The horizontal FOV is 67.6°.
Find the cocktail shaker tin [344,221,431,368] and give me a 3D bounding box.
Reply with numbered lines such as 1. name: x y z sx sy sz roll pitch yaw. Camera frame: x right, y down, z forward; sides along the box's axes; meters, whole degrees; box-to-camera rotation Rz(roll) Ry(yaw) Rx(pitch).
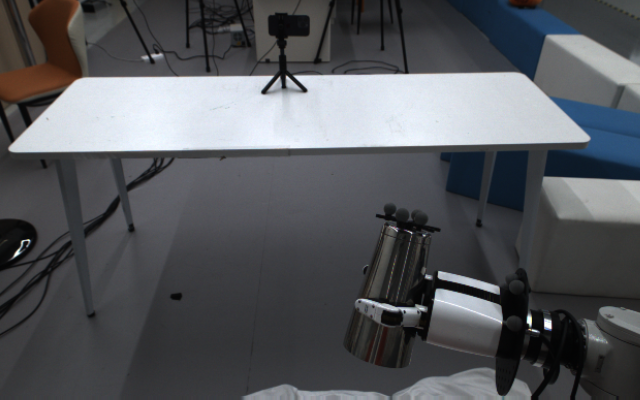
1. cocktail shaker tin: 0.096 0.120 0.641 0.093 0.170 0.093 13 5 -1
